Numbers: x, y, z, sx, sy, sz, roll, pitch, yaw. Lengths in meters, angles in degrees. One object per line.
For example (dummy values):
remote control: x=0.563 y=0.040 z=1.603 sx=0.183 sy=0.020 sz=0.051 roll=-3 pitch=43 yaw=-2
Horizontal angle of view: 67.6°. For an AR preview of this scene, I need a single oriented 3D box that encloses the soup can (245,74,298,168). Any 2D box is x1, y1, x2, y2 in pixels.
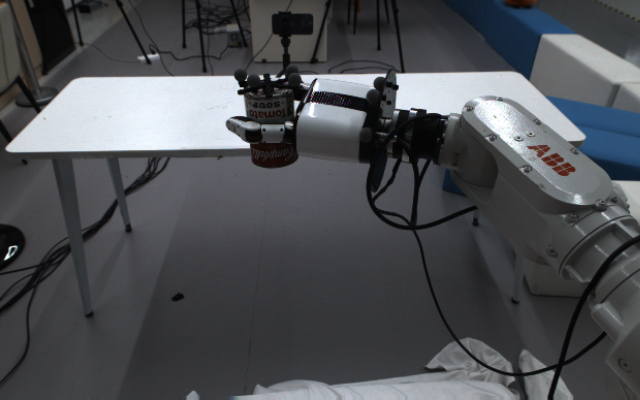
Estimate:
soup can: x=-0.065 y=-0.104 z=0.662 sx=0.067 sy=0.101 sz=0.067 roll=-2 pitch=33 yaw=1
